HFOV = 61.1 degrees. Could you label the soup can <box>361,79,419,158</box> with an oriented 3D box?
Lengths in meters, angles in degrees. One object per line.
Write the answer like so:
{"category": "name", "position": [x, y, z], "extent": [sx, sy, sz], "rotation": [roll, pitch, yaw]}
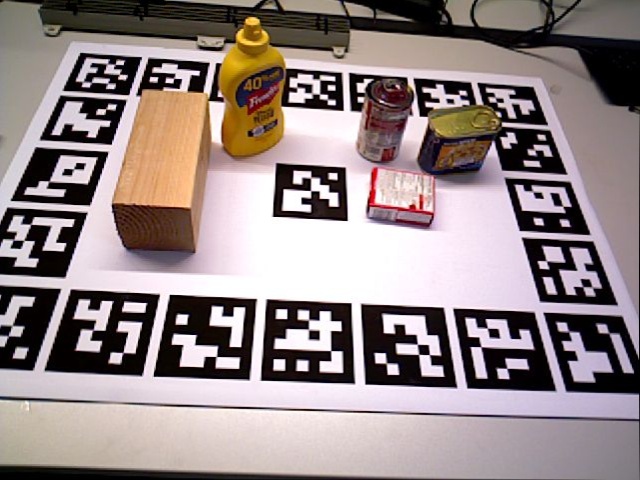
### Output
{"category": "soup can", "position": [0.097, -0.174, 0.758], "extent": [0.067, 0.104, 0.067], "rotation": [2, 54, -4]}

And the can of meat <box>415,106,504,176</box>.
{"category": "can of meat", "position": [0.192, -0.140, 0.766], "extent": [0.100, 0.086, 0.057], "rotation": [-7, 55, -14]}

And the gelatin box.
{"category": "gelatin box", "position": [0.114, -0.056, 0.723], "extent": [0.089, 0.031, 0.072], "rotation": [10, 55, 4]}

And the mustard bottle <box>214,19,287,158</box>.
{"category": "mustard bottle", "position": [-0.092, -0.199, 0.717], "extent": [0.094, 0.196, 0.058], "rotation": [-17, 56, -21]}

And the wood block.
{"category": "wood block", "position": [-0.193, -0.093, 0.686], "extent": [0.090, 0.092, 0.203], "rotation": [5, 49, -5]}
